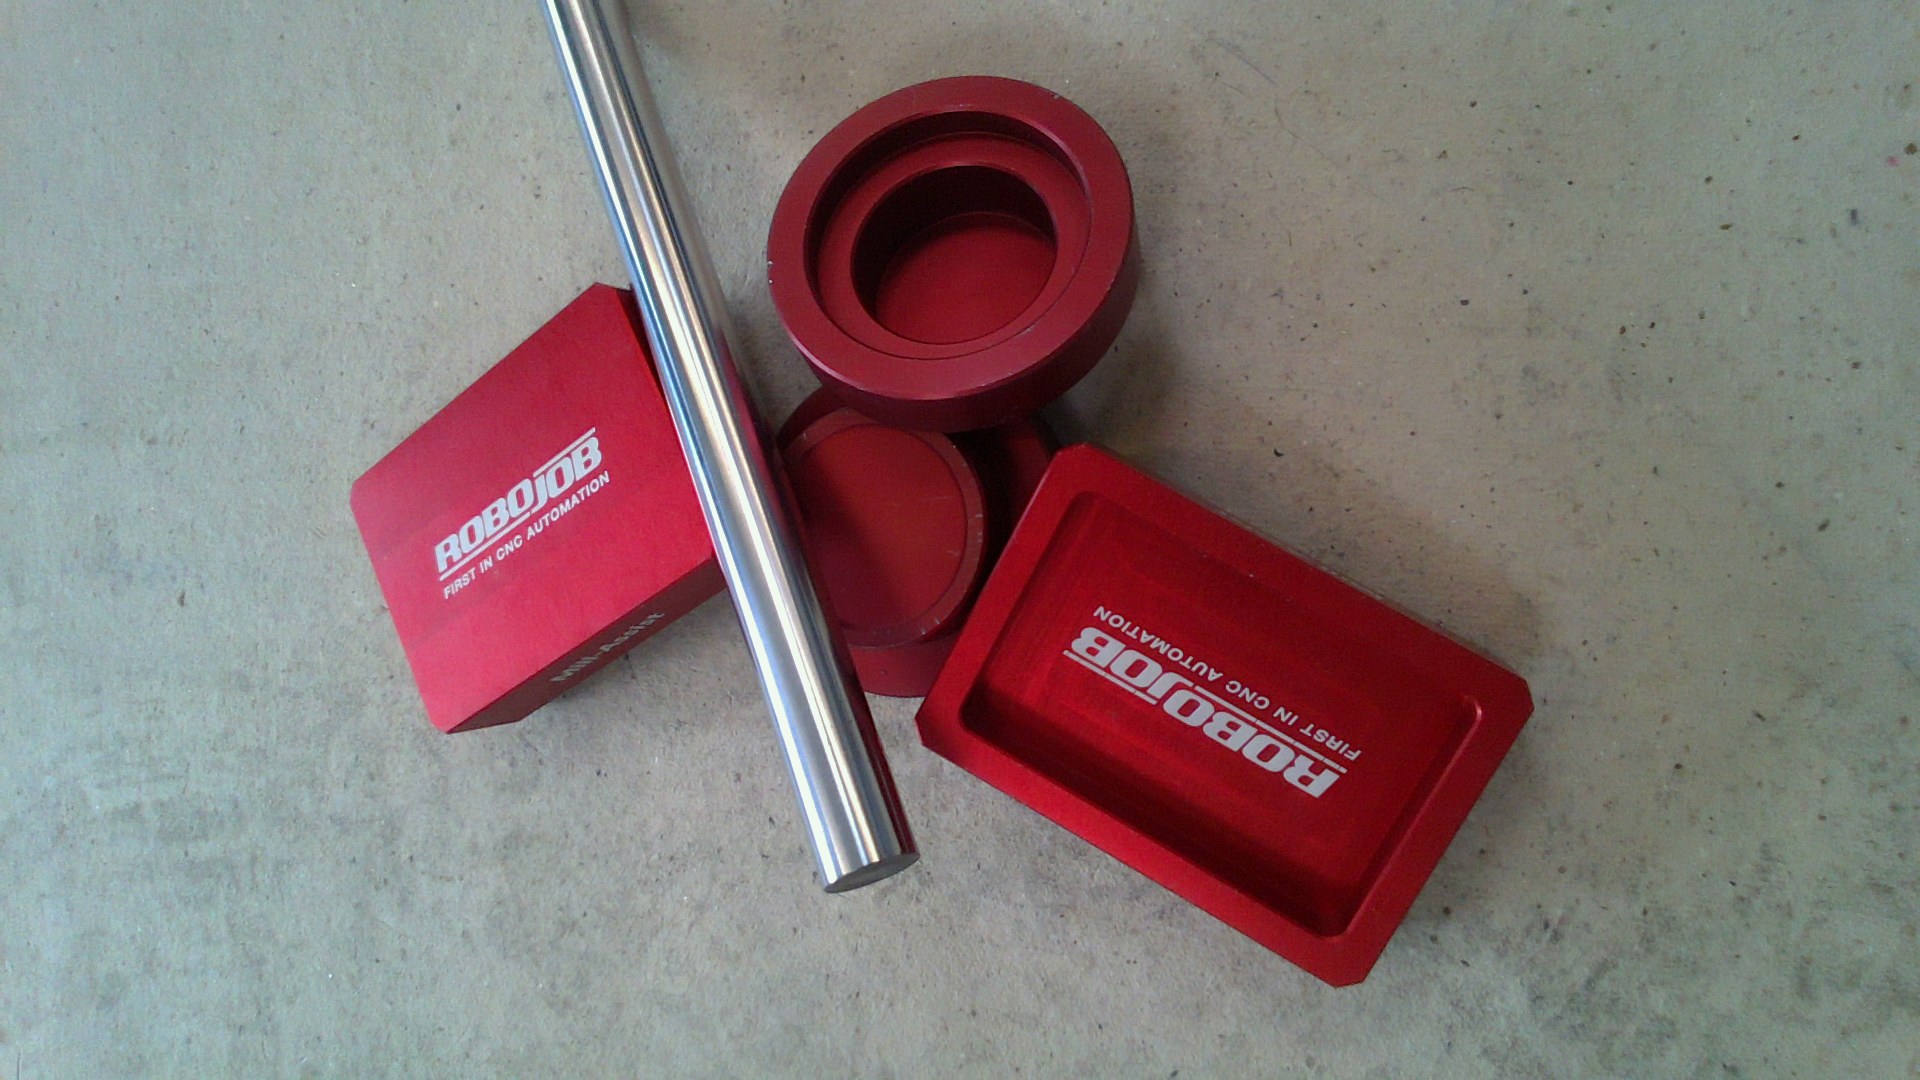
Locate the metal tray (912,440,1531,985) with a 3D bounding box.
[{"bbox_3d":[0.065,0.042,0.358,0.130,0.030,0.090,29,100,7],"label":"metal tray"}]

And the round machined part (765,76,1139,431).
[{"bbox_3d":[0.000,-0.073,0.375,0.098,0.042,0.098,-5,68,11],"label":"round machined part"}]

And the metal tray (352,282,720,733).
[{"bbox_3d":[-0.126,-0.007,0.427,0.130,0.030,0.090,-31,77,26],"label":"metal tray"}]

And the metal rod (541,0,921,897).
[{"bbox_3d":[-0.072,-0.048,0.387,0.025,0.025,0.300,-29,68,18],"label":"metal rod"}]

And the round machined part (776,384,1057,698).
[{"bbox_3d":[-0.018,-0.004,0.394,0.098,0.042,0.098,0,90,20],"label":"round machined part"}]
